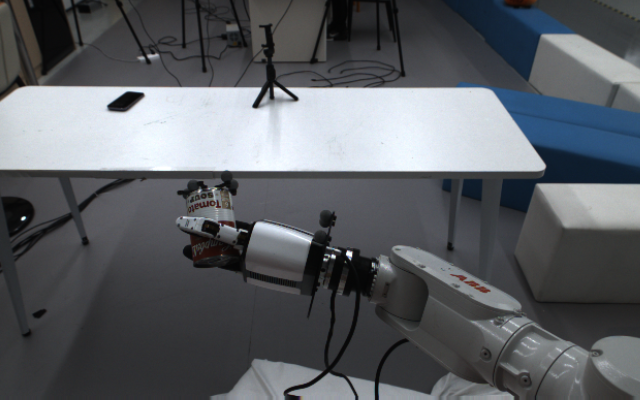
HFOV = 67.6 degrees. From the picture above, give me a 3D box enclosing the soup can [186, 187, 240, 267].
[{"bbox_3d":[-0.154,0.042,0.695,0.067,0.067,0.101,-8,73,-14],"label":"soup can"}]
